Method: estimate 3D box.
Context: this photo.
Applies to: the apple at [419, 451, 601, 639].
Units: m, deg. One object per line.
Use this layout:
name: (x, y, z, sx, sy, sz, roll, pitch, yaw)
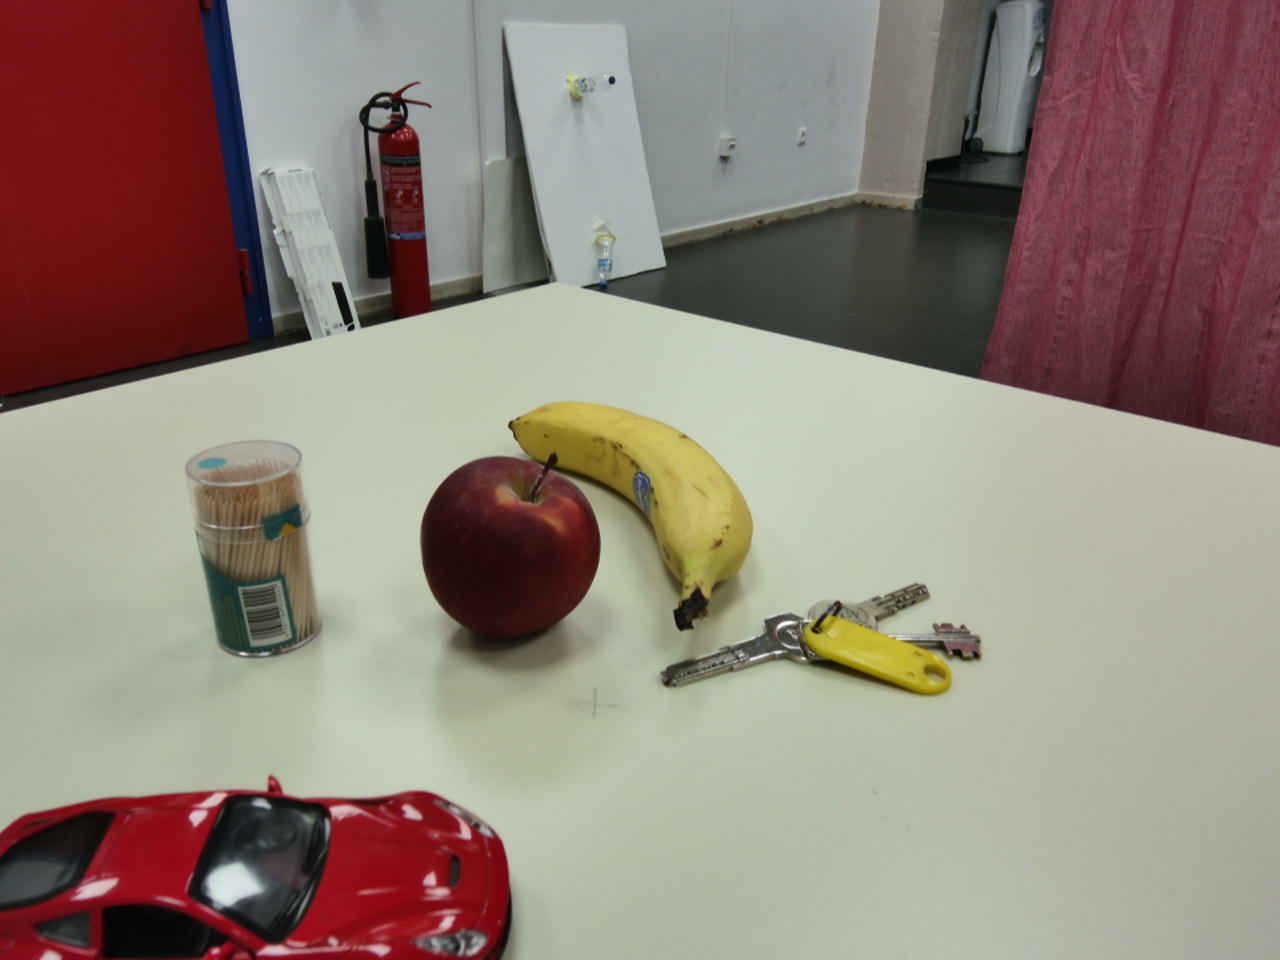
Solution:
apple: (-0.051, 0.026, 0.394, 0.070, 0.072, 0.070, 0, 23, 0)
